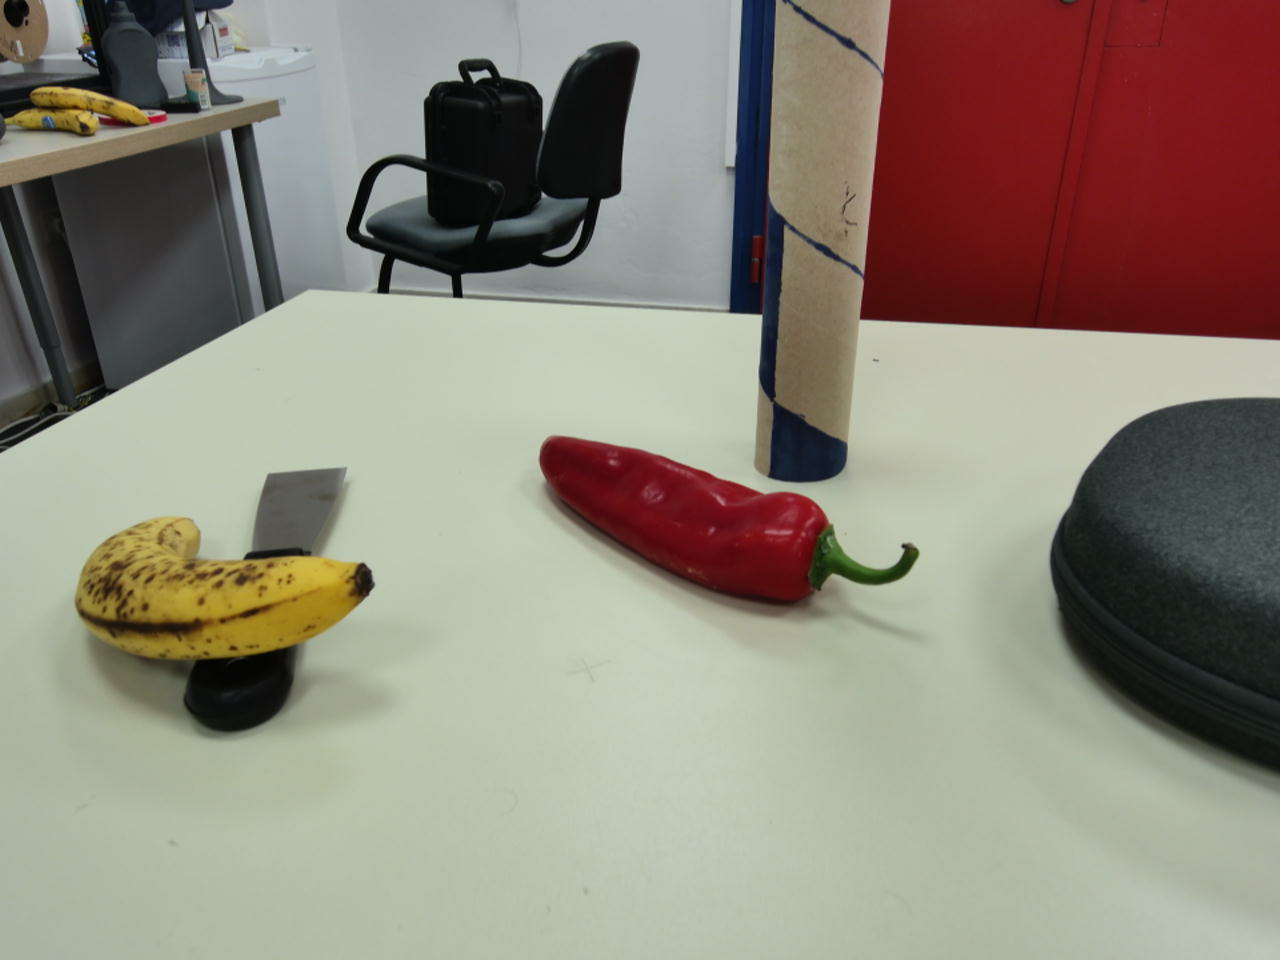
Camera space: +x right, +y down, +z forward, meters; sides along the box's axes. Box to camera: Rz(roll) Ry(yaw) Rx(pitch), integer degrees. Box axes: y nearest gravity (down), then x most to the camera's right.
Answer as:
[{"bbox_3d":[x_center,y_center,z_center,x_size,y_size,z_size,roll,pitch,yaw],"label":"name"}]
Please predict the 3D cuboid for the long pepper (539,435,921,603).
[{"bbox_3d":[0.021,0.013,0.437,0.050,0.043,0.211,-22,32,-40],"label":"long pepper"}]
